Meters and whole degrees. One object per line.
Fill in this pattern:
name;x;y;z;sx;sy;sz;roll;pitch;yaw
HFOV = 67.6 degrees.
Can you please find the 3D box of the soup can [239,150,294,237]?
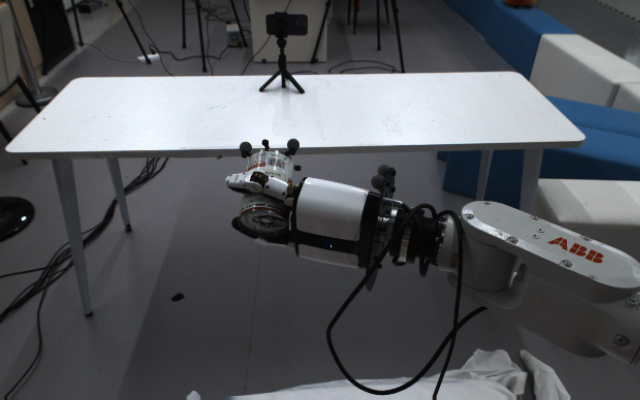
soup can;-0.071;-0.009;0.657;0.067;0.067;0.101;3;59;1
